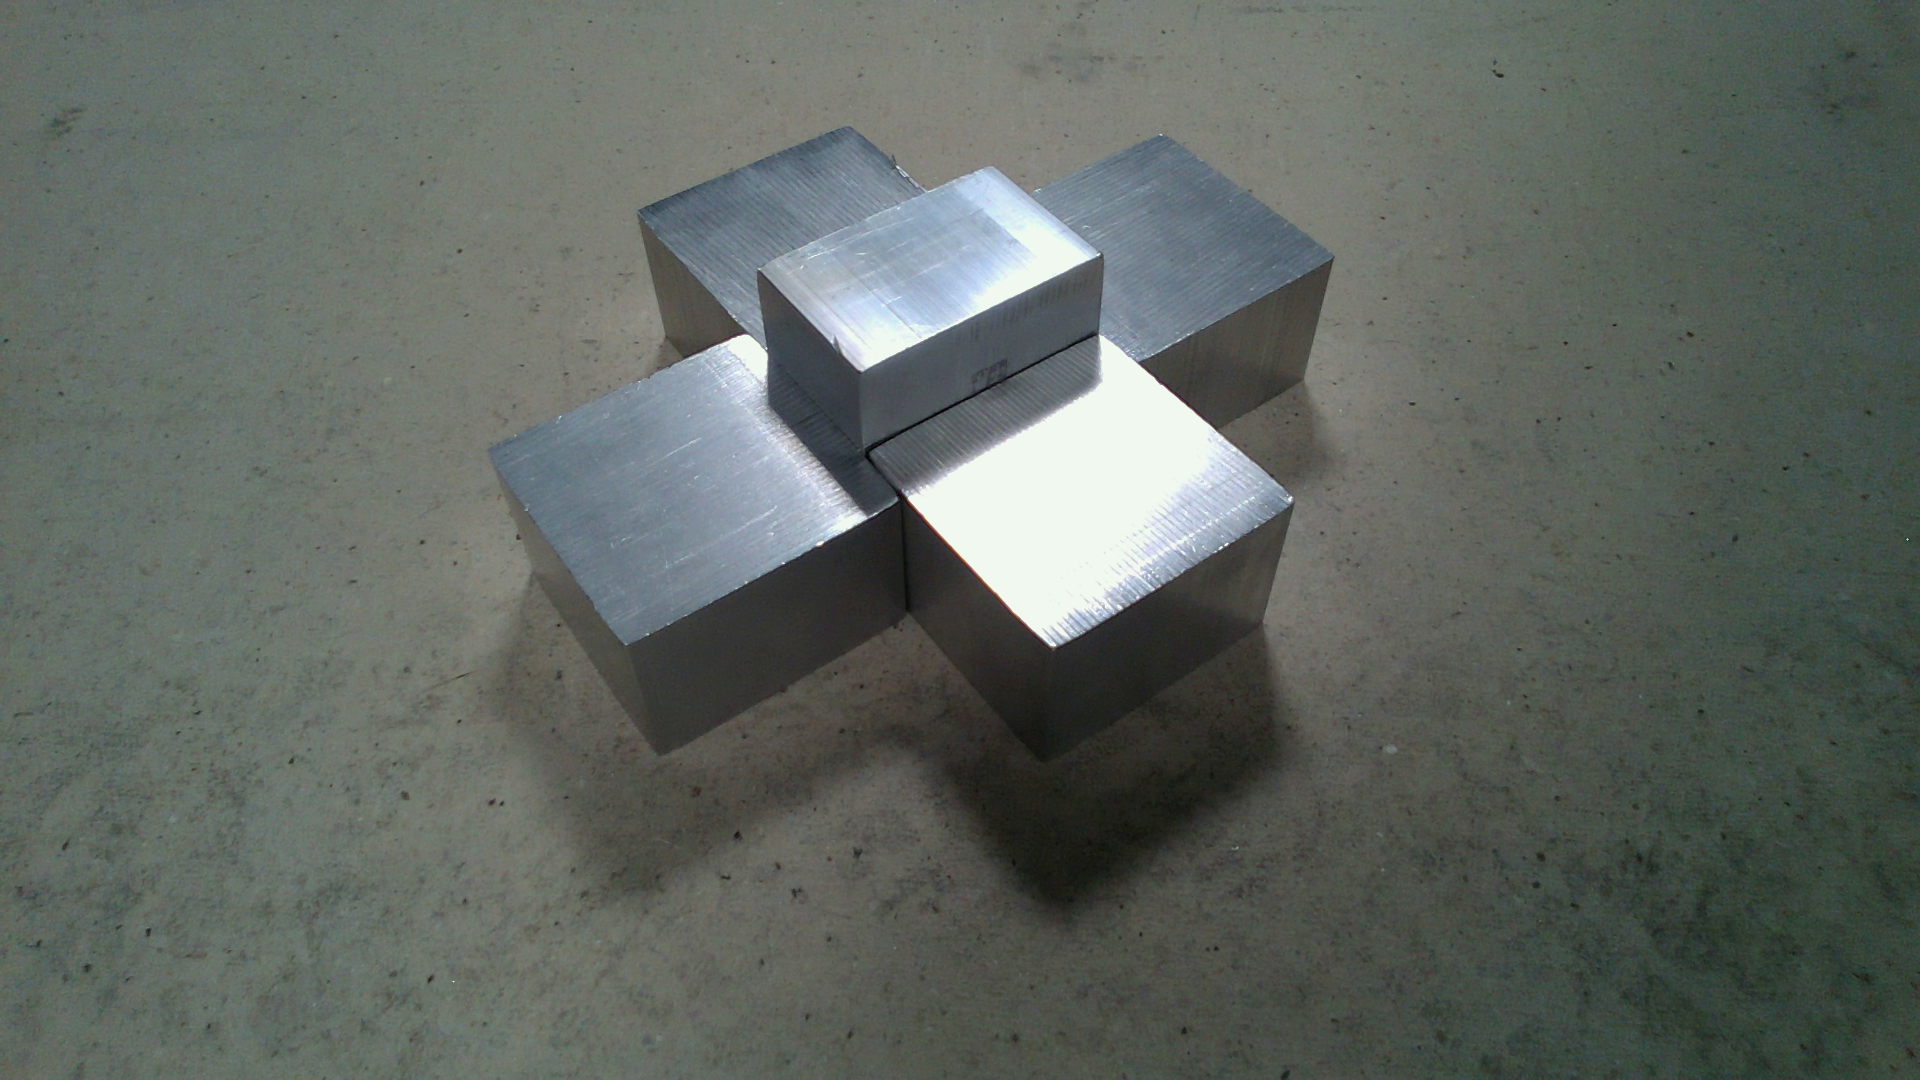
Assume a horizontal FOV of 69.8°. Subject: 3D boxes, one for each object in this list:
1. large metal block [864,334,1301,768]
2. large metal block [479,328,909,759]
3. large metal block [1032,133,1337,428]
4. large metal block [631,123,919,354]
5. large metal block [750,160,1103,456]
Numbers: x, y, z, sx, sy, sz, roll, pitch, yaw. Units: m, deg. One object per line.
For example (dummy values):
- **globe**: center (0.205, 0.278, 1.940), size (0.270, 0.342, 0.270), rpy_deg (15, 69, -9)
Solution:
- **large metal block**: center (0.031, 0.000, 0.374), size (0.080, 0.050, 0.080), rpy_deg (-29, 56, -22)
- **large metal block**: center (-0.071, -0.002, 0.376), size (0.080, 0.050, 0.080), rpy_deg (-29, 56, -22)
- **large metal block**: center (0.058, -0.076, 0.439), size (0.080, 0.050, 0.080), rpy_deg (-29, 56, -22)
- **large metal block**: center (-0.046, -0.080, 0.442), size (0.080, 0.050, 0.080), rpy_deg (-29, 56, -22)
- **large metal block**: center (-0.008, -0.050, 0.398), size (0.080, 0.080, 0.050), rpy_deg (-30, 56, -22)
